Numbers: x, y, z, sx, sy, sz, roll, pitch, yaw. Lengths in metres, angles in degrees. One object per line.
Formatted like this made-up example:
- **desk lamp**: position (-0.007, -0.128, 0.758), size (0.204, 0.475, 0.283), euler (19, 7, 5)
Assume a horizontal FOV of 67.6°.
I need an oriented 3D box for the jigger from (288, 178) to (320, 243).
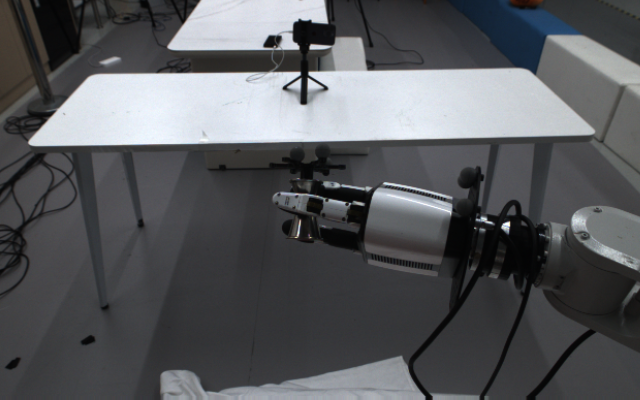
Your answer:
- **jigger**: position (-0.016, 0.012, 0.560), size (0.043, 0.071, 0.043), euler (1, -6, 0)
